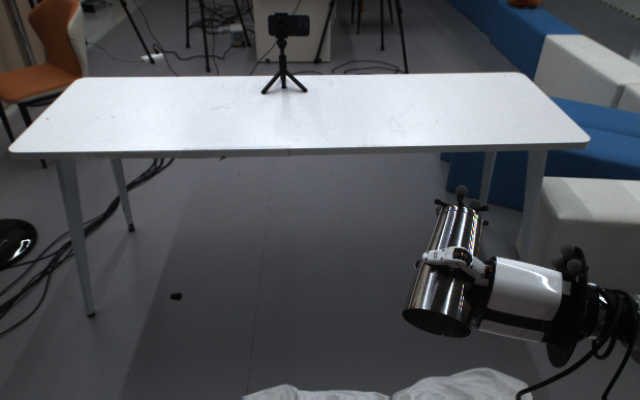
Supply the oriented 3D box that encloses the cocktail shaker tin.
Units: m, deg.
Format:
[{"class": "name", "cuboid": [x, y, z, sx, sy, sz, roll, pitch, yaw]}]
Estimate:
[{"class": "cocktail shaker tin", "cuboid": [0.182, 0.096, 0.681, 0.093, 0.093, 0.170, 14, 61, 16]}]
